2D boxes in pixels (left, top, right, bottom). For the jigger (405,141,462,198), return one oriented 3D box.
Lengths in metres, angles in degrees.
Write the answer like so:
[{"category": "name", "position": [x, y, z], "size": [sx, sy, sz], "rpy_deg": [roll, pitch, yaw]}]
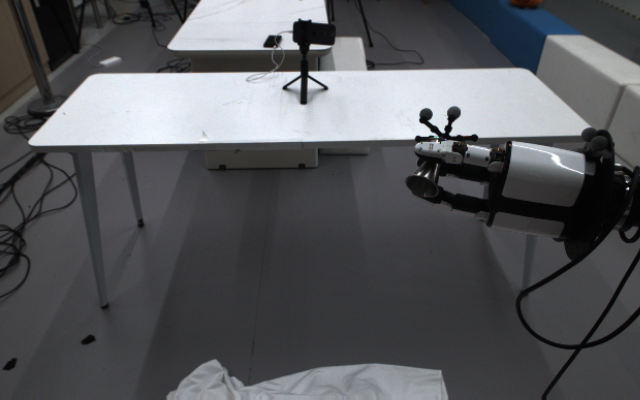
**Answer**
[{"category": "jigger", "position": [0.142, -0.047, 0.618], "size": [0.043, 0.043, 0.071], "rpy_deg": [19, 61, 23]}]
